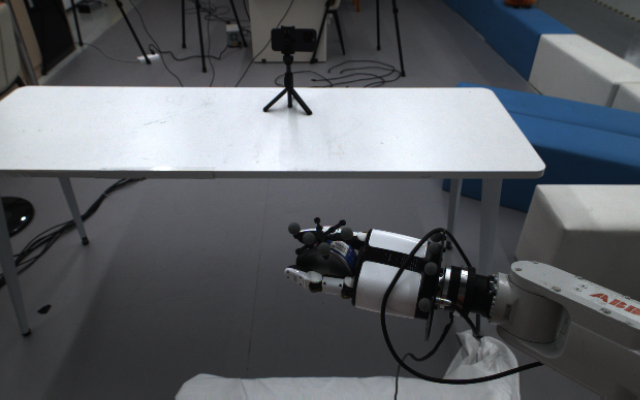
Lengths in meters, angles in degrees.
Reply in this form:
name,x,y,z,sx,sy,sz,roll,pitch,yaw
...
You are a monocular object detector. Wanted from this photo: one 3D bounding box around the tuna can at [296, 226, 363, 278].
name,x,y,z,sx,sy,sz,roll,pitch,yaw
tuna can,0.013,0.090,0.701,0.085,0.085,0.034,14,40,16
